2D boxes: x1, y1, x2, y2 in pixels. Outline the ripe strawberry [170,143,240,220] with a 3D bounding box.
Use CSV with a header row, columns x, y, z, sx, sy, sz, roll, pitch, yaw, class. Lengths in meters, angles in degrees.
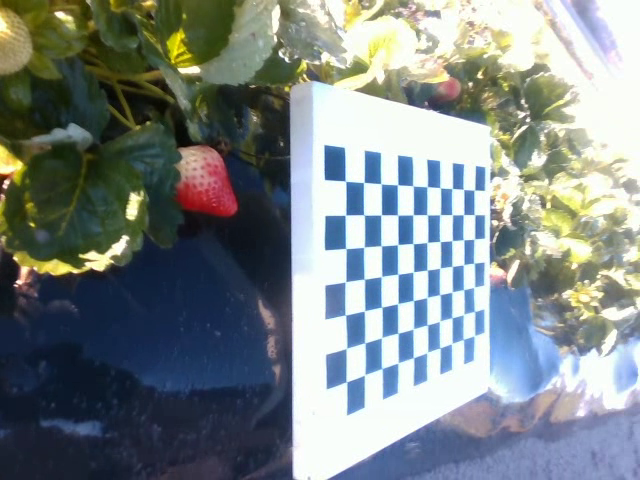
x,y,z,sx,sy,sz,roll,pitch,yaw,class
-0.073,-0.032,0.396,0.040,0.040,0.065,-2,-40,38,ripe strawberry
